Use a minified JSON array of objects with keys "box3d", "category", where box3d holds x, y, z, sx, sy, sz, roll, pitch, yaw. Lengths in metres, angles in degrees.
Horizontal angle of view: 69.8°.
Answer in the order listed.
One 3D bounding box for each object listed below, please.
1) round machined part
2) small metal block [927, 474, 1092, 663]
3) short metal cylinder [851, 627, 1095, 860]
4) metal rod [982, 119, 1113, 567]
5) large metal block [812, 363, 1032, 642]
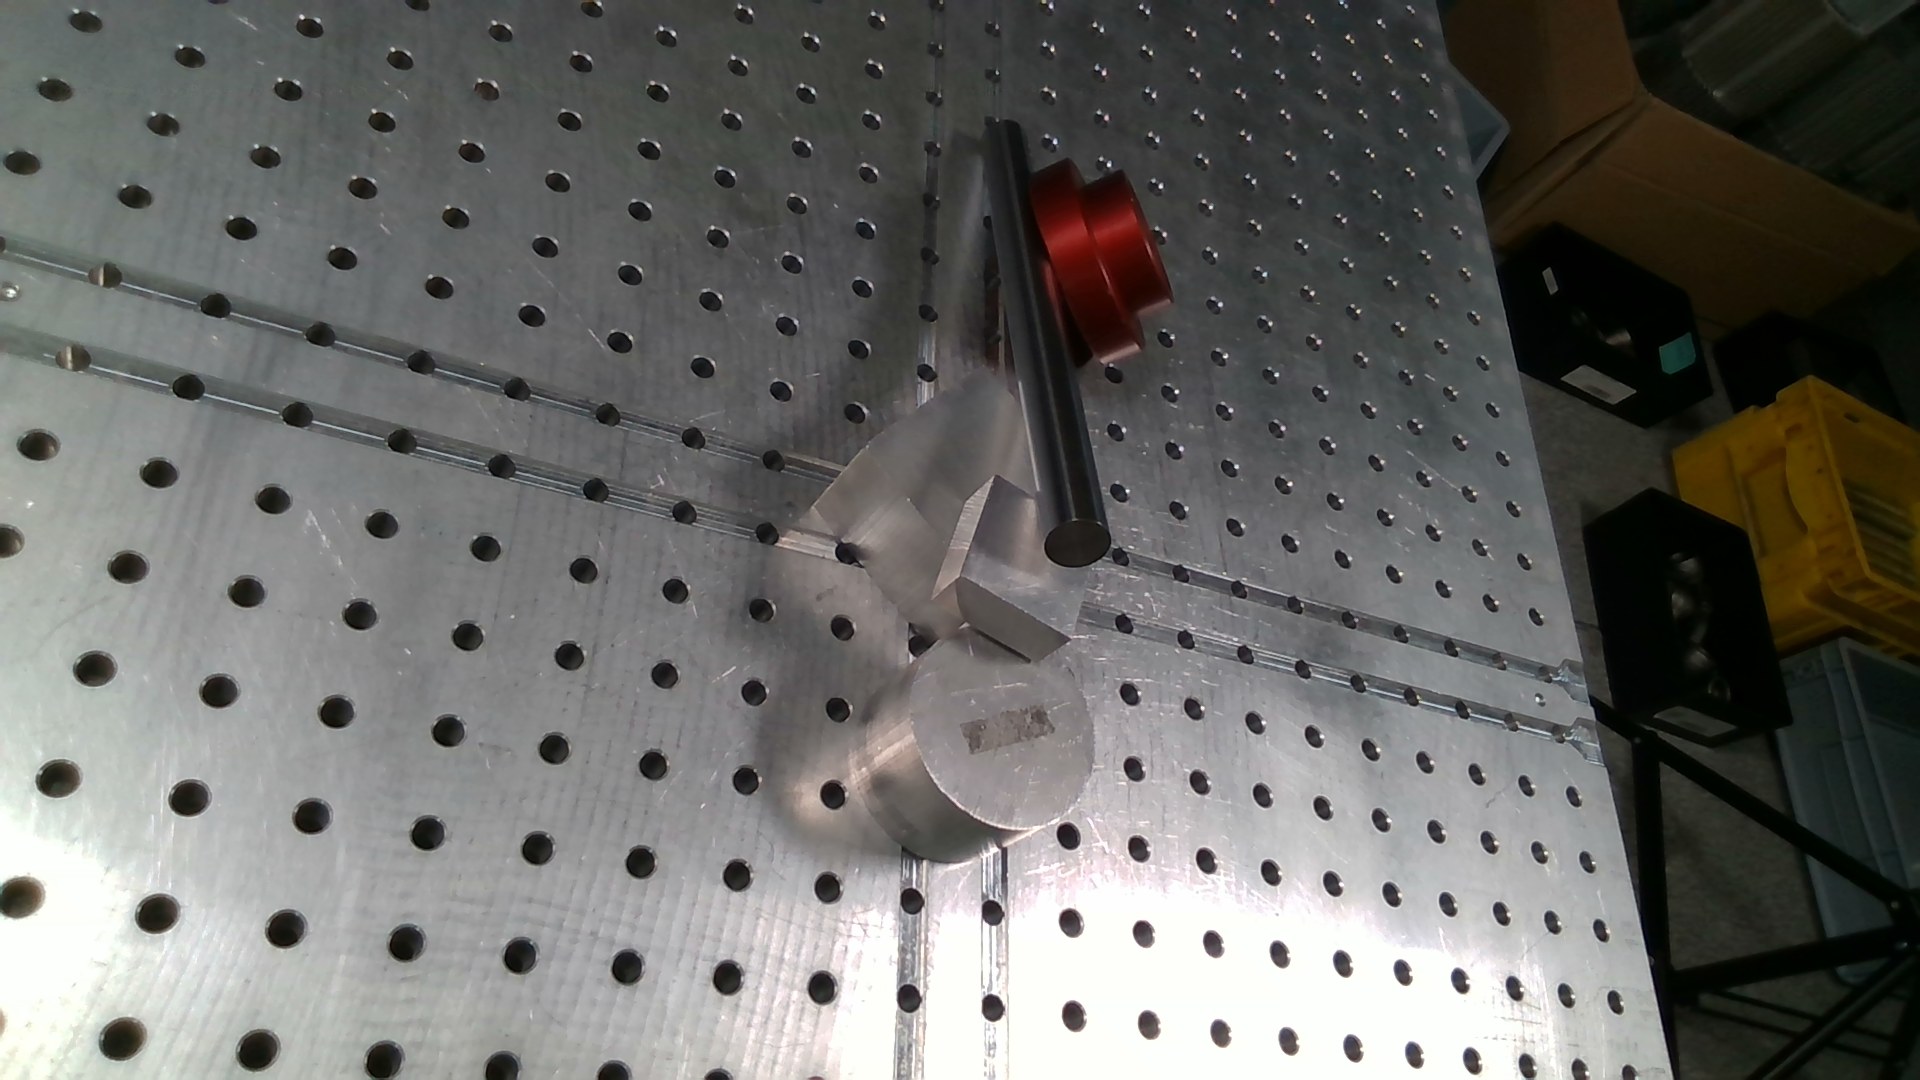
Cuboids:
[{"box3d":[0.071,-0.138,0.661,0.098,0.042,0.098,-21,89,-76],"category":"round machined part"},{"box3d":[0.022,0.011,0.529,0.050,0.025,0.050,31,53,-14],"category":"small metal block"},{"box3d":[0.005,0.079,0.533,0.080,0.050,0.080,14,59,-25],"category":"short metal cylinder"},{"box3d":[0.033,-0.103,0.608,0.025,0.025,0.299,19,40,-22],"category":"metal rod"},{"box3d":[0.000,-0.015,0.578,0.080,0.050,0.080,50,51,1],"category":"large metal block"}]
